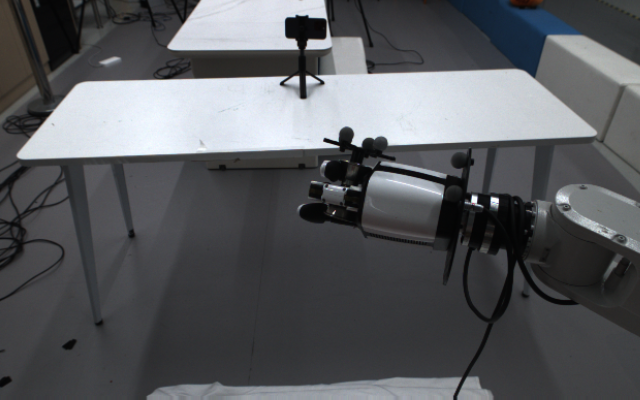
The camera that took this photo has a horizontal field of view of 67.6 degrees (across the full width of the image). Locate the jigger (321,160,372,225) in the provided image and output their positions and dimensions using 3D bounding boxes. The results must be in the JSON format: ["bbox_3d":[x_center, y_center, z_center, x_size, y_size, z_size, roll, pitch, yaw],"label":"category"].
[{"bbox_3d":[0.032,-0.013,0.583,0.043,0.071,0.043,16,2,-1],"label":"jigger"}]
